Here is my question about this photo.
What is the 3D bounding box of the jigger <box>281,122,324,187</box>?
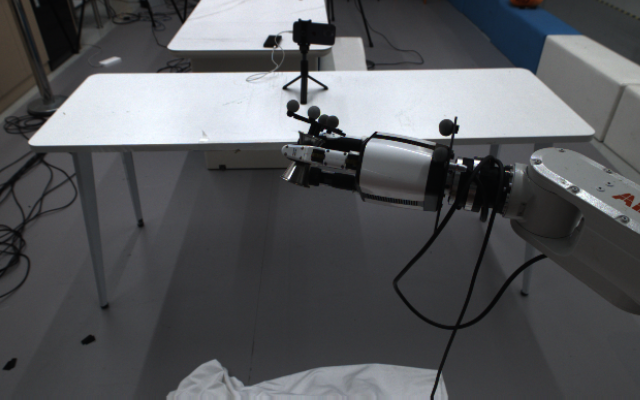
[{"bbox_3d":[-0.024,-0.056,0.657,0.043,0.071,0.043,22,6,-2],"label":"jigger"}]
